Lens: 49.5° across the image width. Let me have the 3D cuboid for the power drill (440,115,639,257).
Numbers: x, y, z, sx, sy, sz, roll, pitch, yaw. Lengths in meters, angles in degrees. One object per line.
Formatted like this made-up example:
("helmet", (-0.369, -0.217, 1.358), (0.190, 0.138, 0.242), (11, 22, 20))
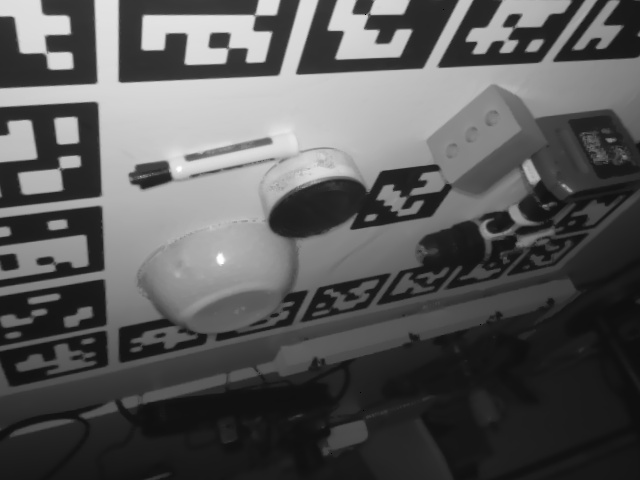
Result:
("power drill", (0.231, -0.045, 0.705), (0.186, 0.057, 0.184), (-6, 150, -18))

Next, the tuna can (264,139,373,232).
("tuna can", (-0.002, -0.044, 0.571), (0.086, 0.034, 0.085), (-14, 150, -7))

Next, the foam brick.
("foam brick", (0.147, -0.095, 0.576), (0.052, 0.053, 0.077), (10, 138, -40))

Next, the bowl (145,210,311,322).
("bowl", (-0.077, 0.034, 0.654), (0.162, 0.055, 0.160), (-18, 158, -6))

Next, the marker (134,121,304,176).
("marker", (-0.072, -0.066, 0.501), (0.122, 0.020, 0.019), (-13, 149, -13))
